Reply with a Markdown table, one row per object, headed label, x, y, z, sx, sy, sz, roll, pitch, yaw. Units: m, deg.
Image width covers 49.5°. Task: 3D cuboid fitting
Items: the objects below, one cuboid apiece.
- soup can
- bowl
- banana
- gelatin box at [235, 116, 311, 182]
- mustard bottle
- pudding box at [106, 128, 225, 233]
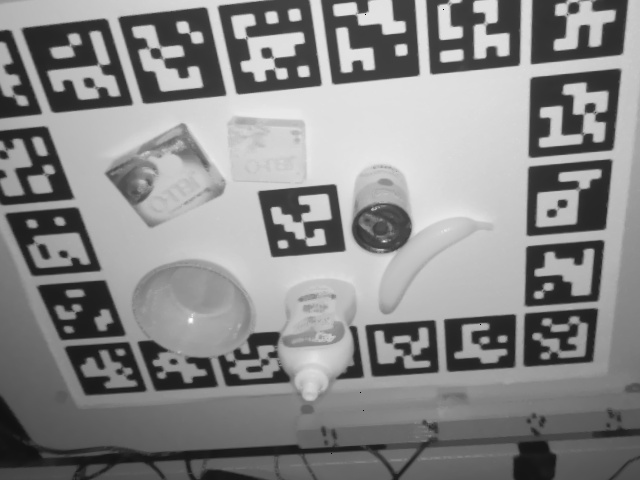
| label | x | y | z | sx | sy | sz | roll | pitch | yaw |
| --- | --- | --- | --- | --- | --- | --- | --- | --- | --- |
| soup can | 0.083 | -0.025 | 0.821 | 0.068 | 0.103 | 0.067 | 2 | 123 | 5 |
| bowl | -0.172 | 0.091 | 0.944 | 0.162 | 0.055 | 0.160 | 0 | 121 | 1 |
| banana | 0.140 | 0.047 | 0.908 | 0.075 | 0.039 | 0.195 | 28 | 119 | -24 |
| gelatin box | -0.055 | -0.108 | 0.830 | 0.089 | 0.030 | 0.072 | 2 | 118 | 1 |
| mustard bottle | -0.007 | 0.137 | 0.866 | 0.096 | 0.193 | 0.058 | -3 | 123 | 6 |
| pudding box | -0.187 | -0.073 | 0.853 | 0.113 | 0.039 | 0.090 | -26 | 111 | 17 |
